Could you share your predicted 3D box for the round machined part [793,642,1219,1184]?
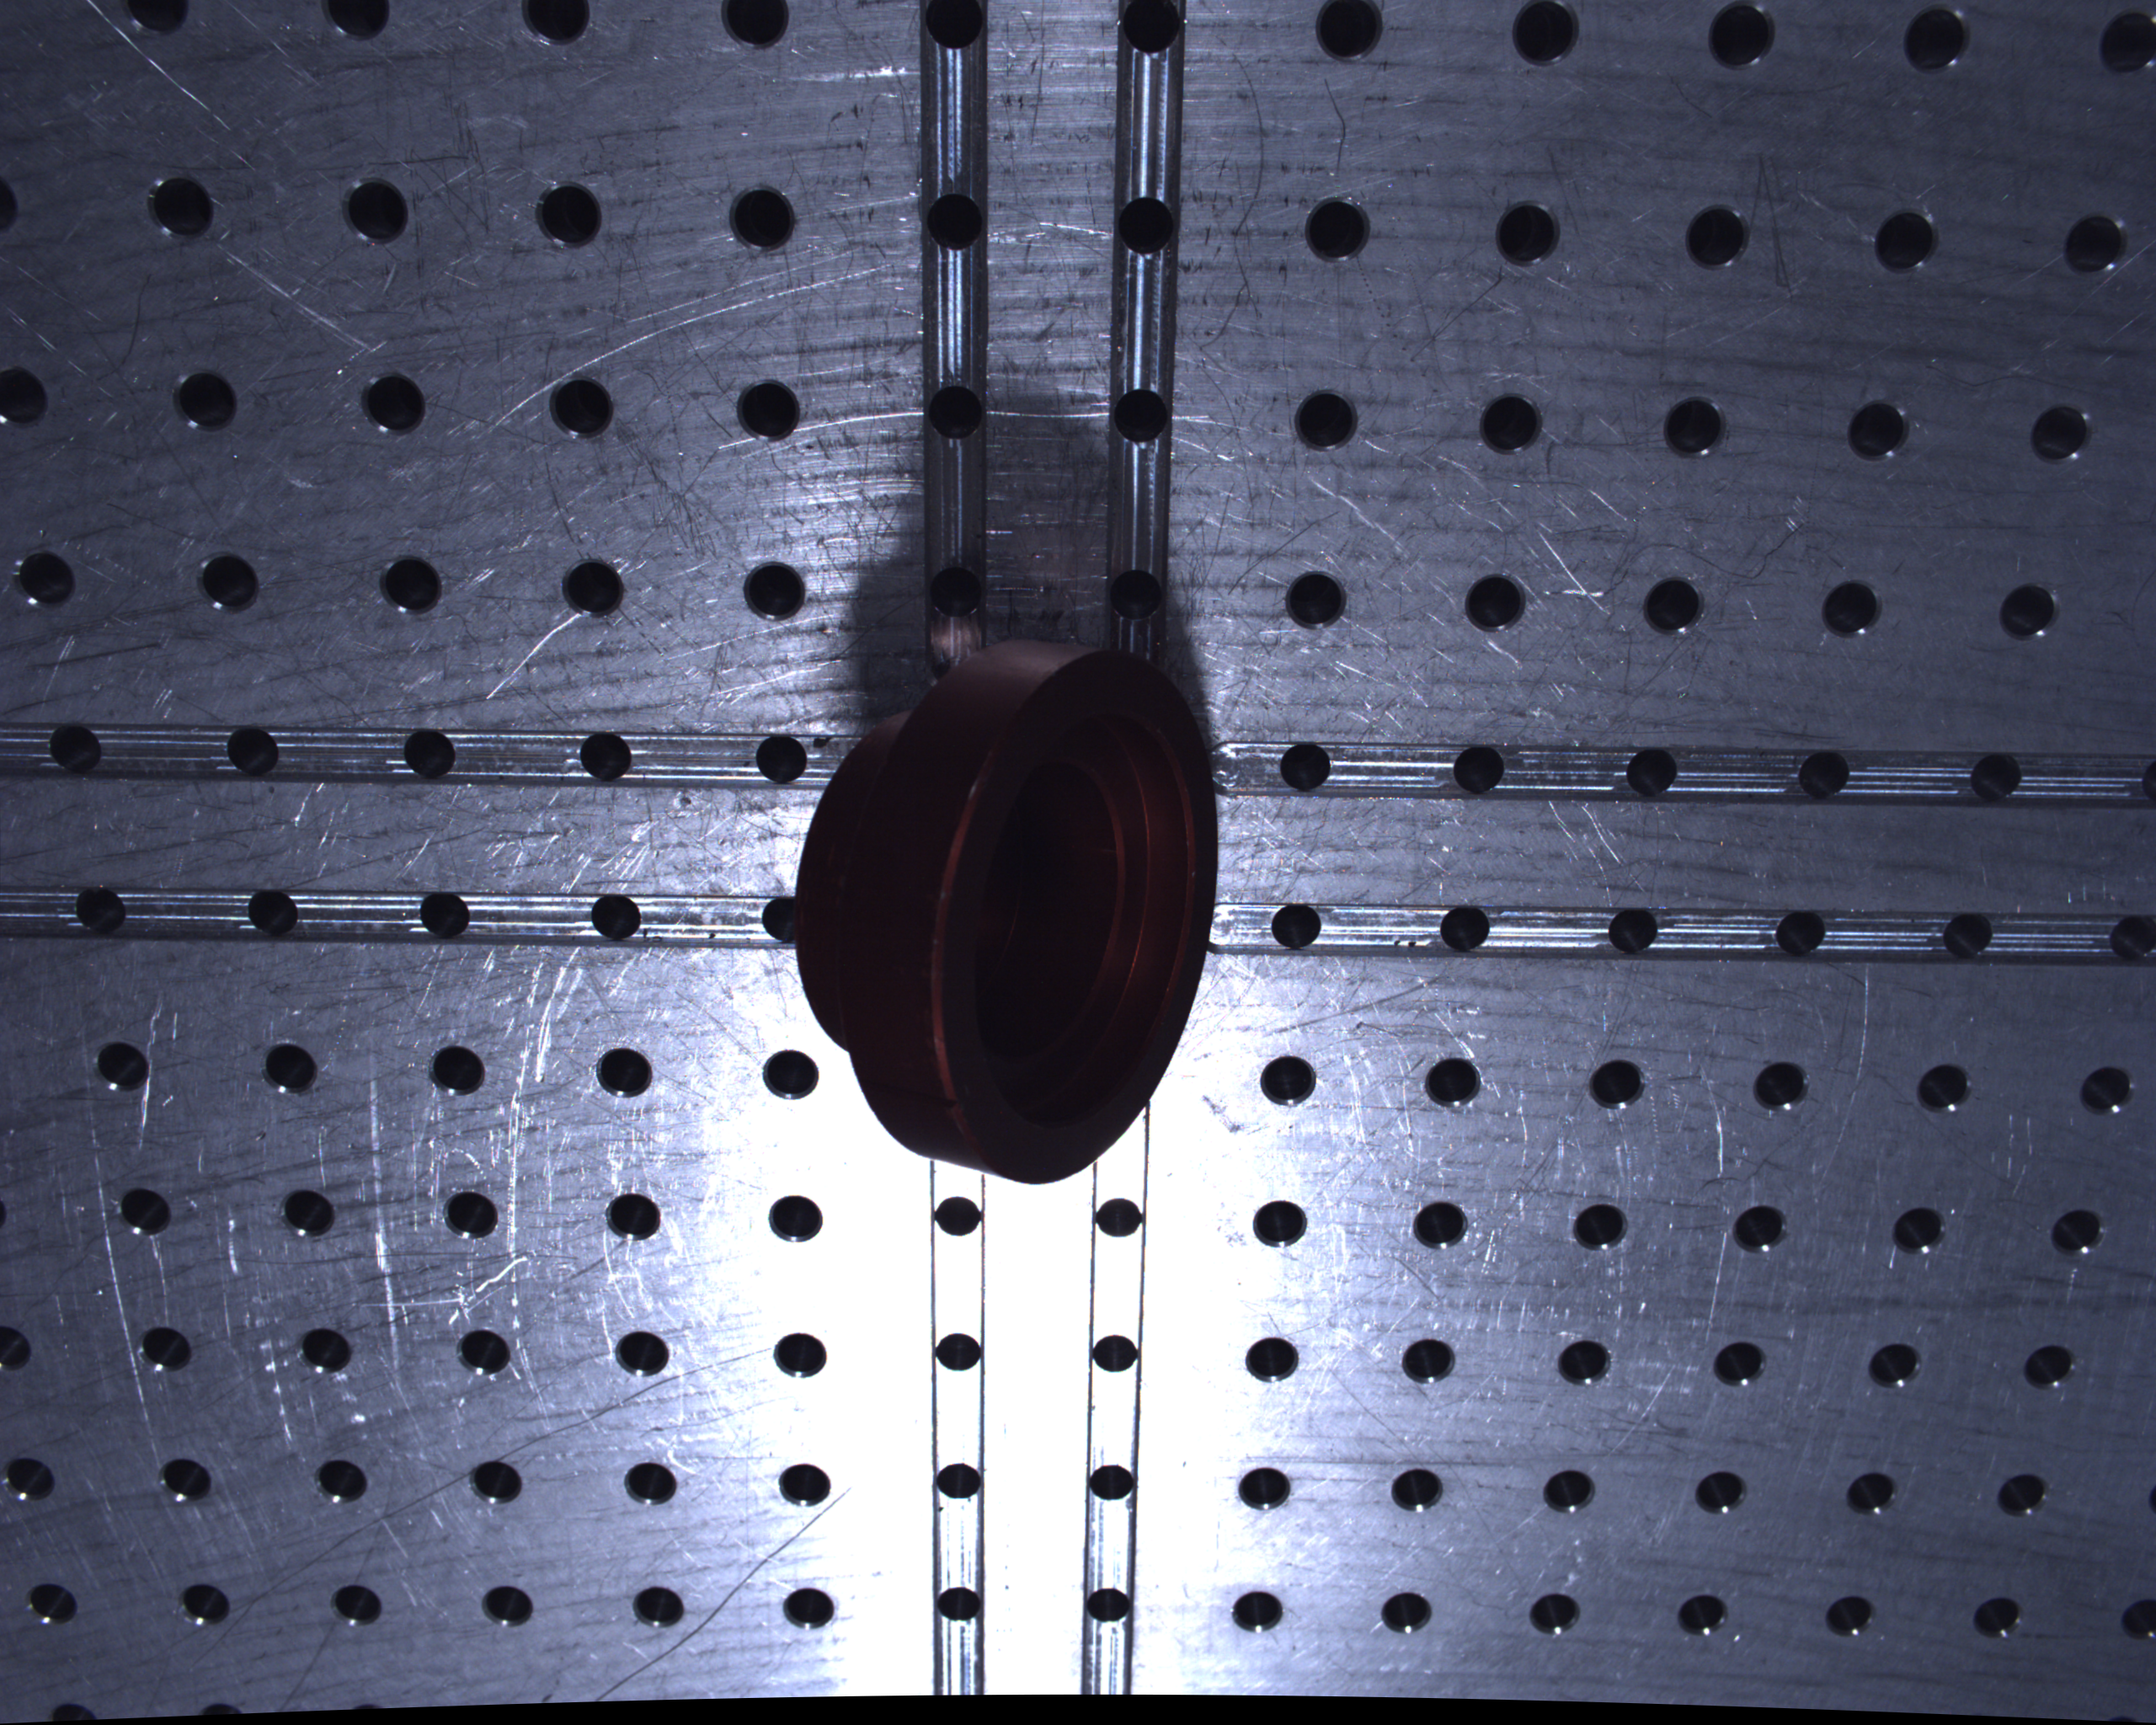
[{"bbox_3d":[-0.015,0.007,0.386,0.042,0.099,0.097,10,114,30],"label":"round machined part"}]
